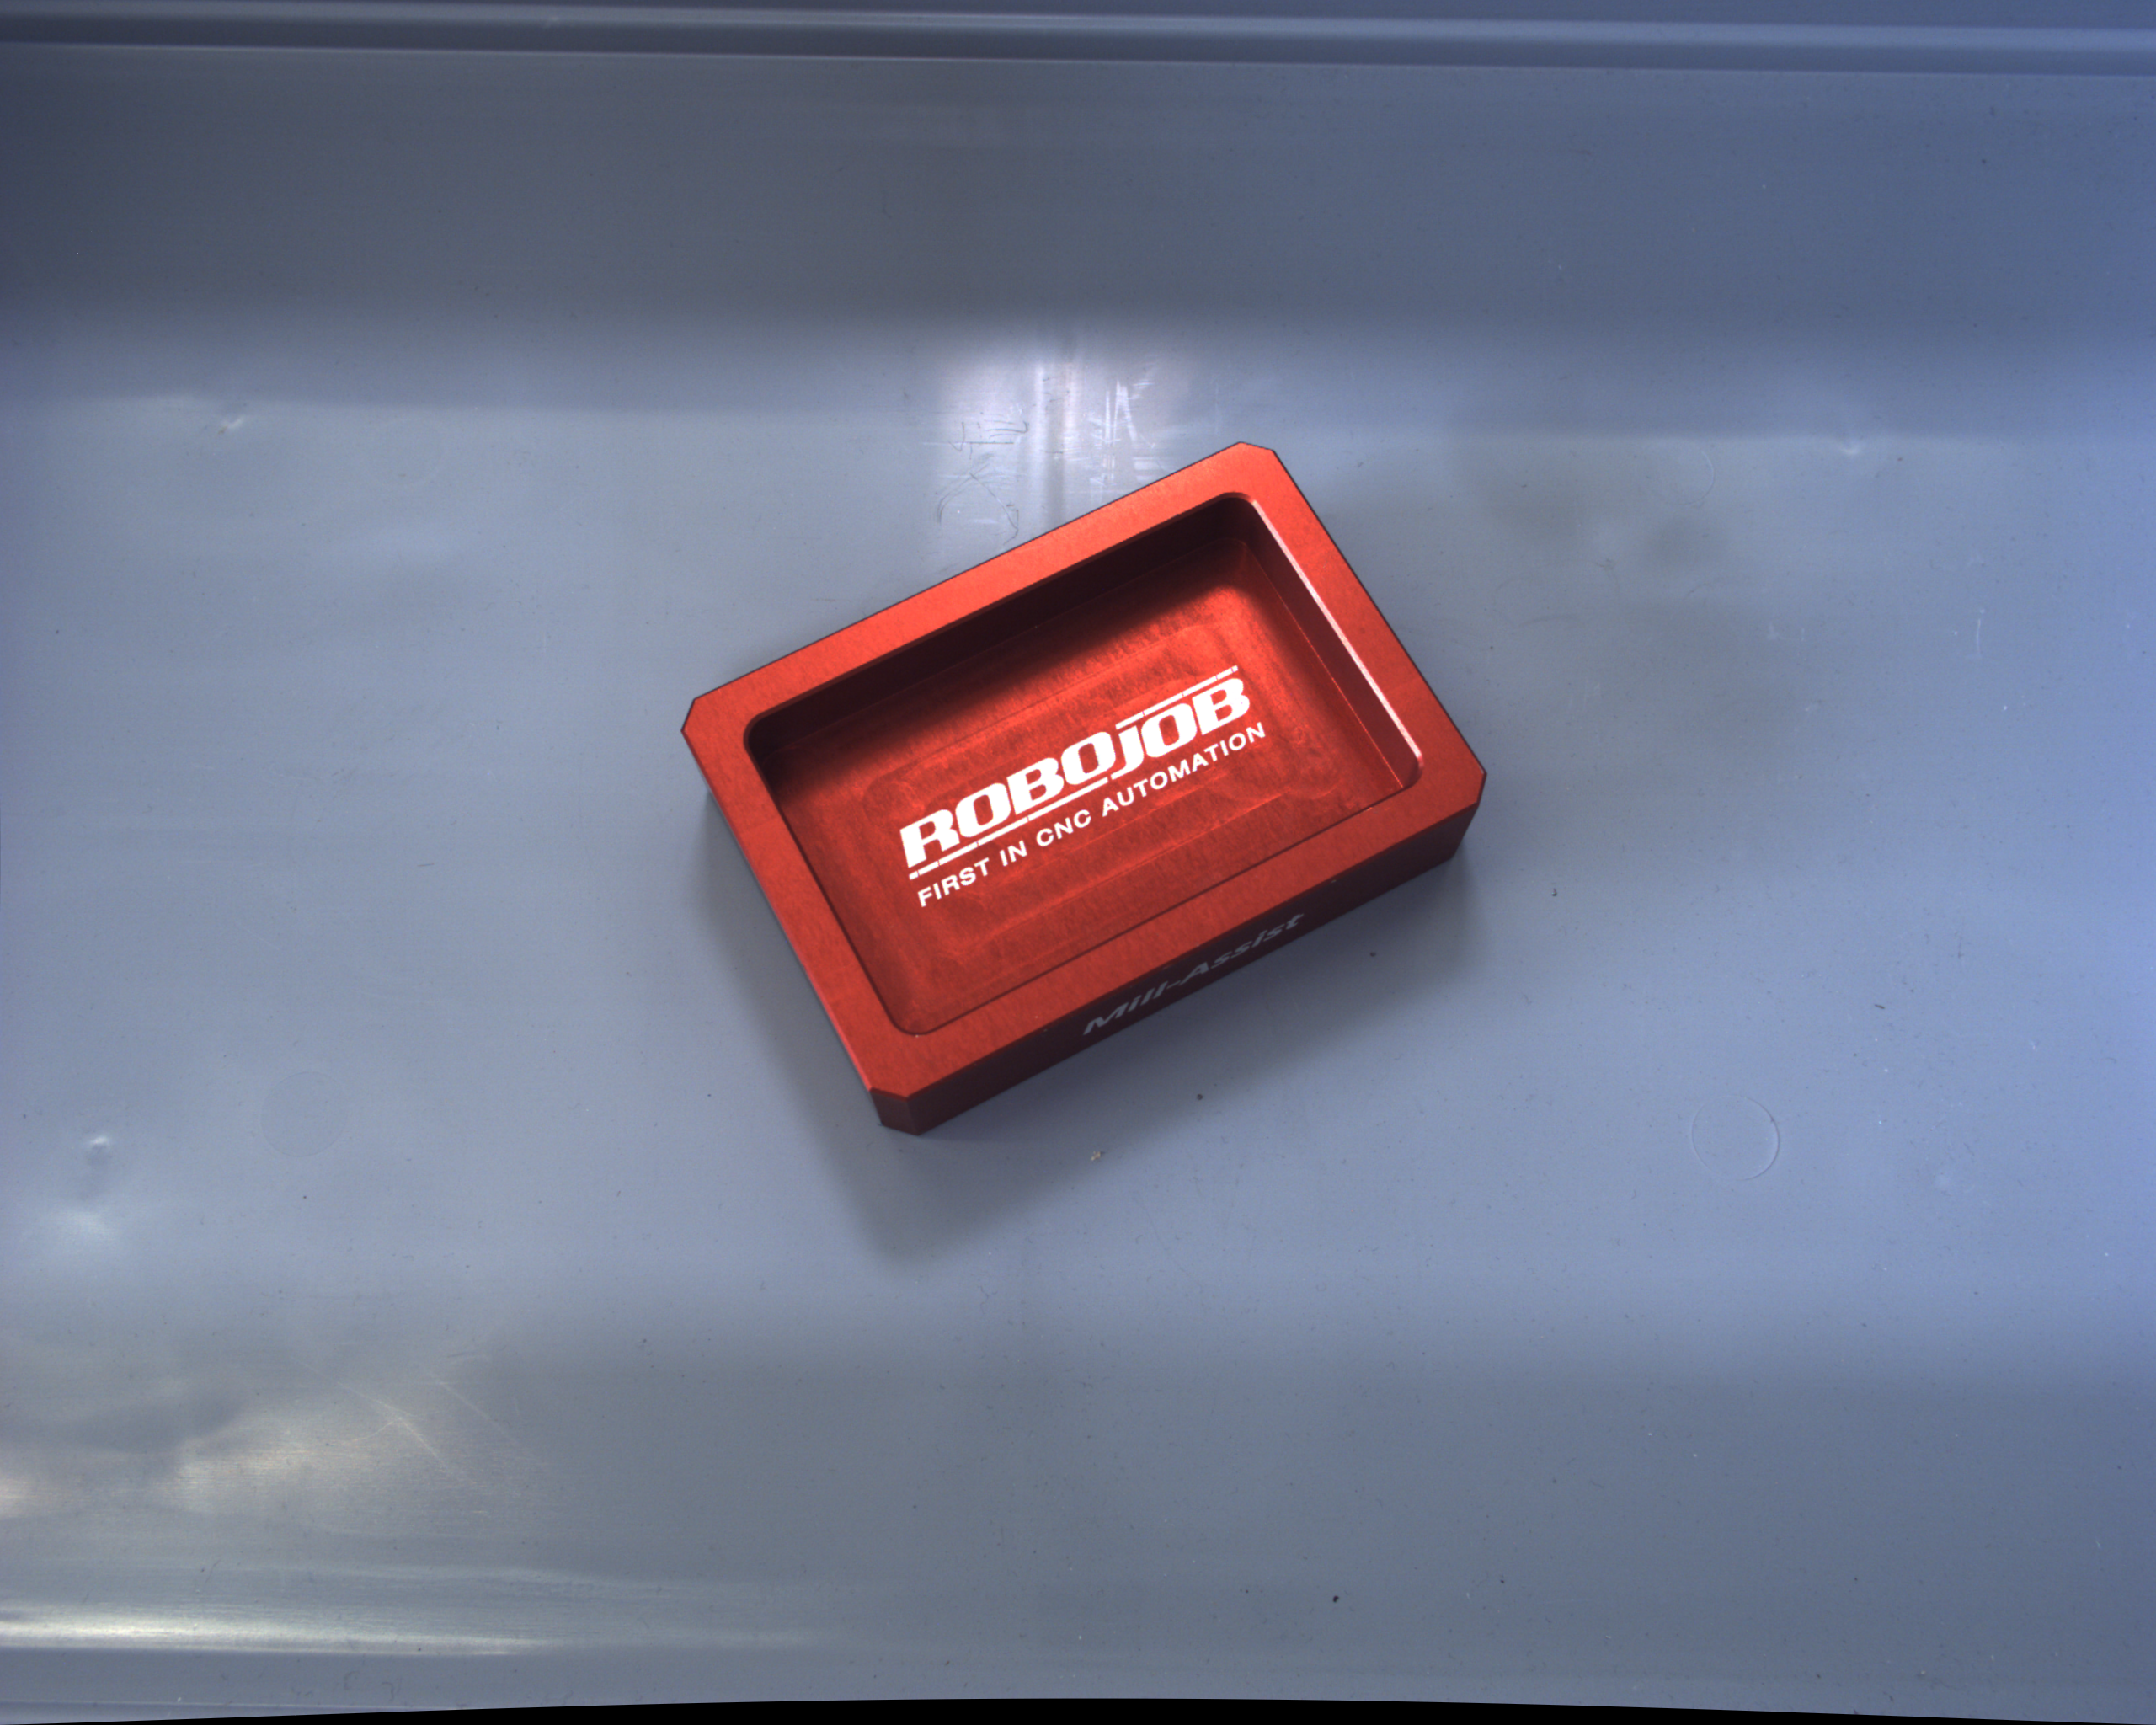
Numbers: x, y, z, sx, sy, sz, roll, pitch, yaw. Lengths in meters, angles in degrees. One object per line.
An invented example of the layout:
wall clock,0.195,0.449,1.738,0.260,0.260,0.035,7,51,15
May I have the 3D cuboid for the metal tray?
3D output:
metal tray,0.001,-0.016,0.410,0.131,0.030,0.090,-27,73,-10
